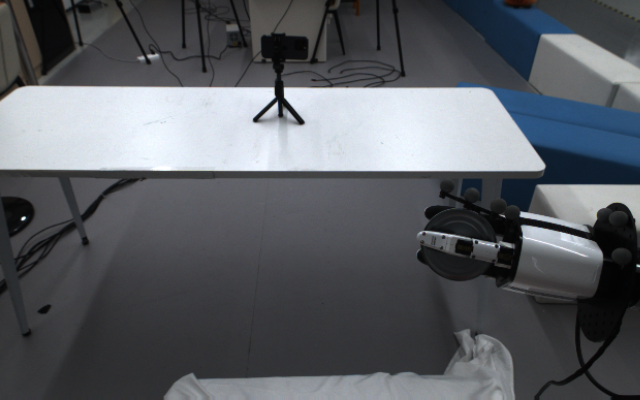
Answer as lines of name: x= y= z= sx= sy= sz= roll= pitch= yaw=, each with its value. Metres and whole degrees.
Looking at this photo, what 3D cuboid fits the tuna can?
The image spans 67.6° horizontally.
tuna can: x=0.167 y=0.050 z=0.579 sx=0.085 sy=0.085 sz=0.034 roll=13 pitch=2 yaw=16
